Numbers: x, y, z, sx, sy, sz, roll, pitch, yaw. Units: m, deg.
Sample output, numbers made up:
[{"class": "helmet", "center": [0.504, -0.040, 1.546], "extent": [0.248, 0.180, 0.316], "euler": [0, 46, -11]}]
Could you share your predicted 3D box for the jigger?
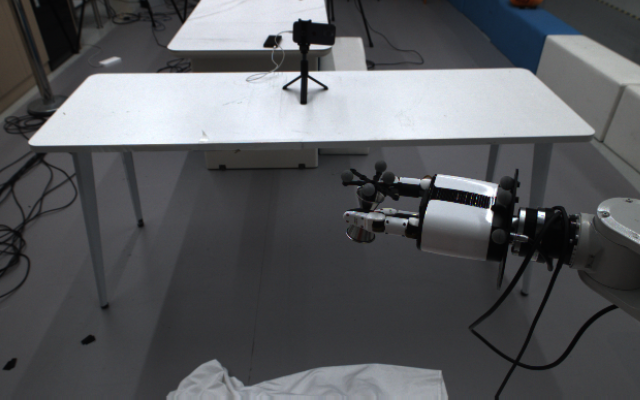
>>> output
[{"class": "jigger", "center": [0.063, 0.021, 0.686], "extent": [0.043, 0.071, 0.043], "euler": [9, 30, -5]}]
